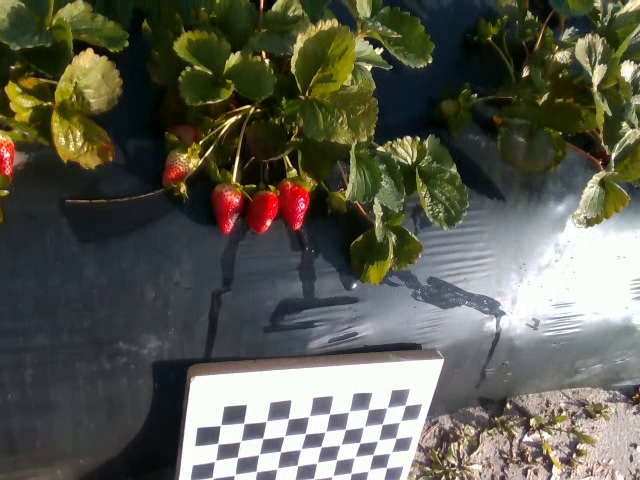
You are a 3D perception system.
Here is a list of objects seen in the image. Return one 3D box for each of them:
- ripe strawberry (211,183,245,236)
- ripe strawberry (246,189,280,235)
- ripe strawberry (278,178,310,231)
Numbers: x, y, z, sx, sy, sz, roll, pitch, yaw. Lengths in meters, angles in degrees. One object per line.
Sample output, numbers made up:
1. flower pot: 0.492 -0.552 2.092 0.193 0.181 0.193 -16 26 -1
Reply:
1. ripe strawberry: -0.077 -0.026 0.516 0.031 0.046 0.023 1 10 -19
2. ripe strawberry: -0.048 -0.024 0.520 0.030 0.039 0.037 11 -44 -23
3. ripe strawberry: -0.022 -0.025 0.533 0.035 0.041 0.034 -3 -25 -18
